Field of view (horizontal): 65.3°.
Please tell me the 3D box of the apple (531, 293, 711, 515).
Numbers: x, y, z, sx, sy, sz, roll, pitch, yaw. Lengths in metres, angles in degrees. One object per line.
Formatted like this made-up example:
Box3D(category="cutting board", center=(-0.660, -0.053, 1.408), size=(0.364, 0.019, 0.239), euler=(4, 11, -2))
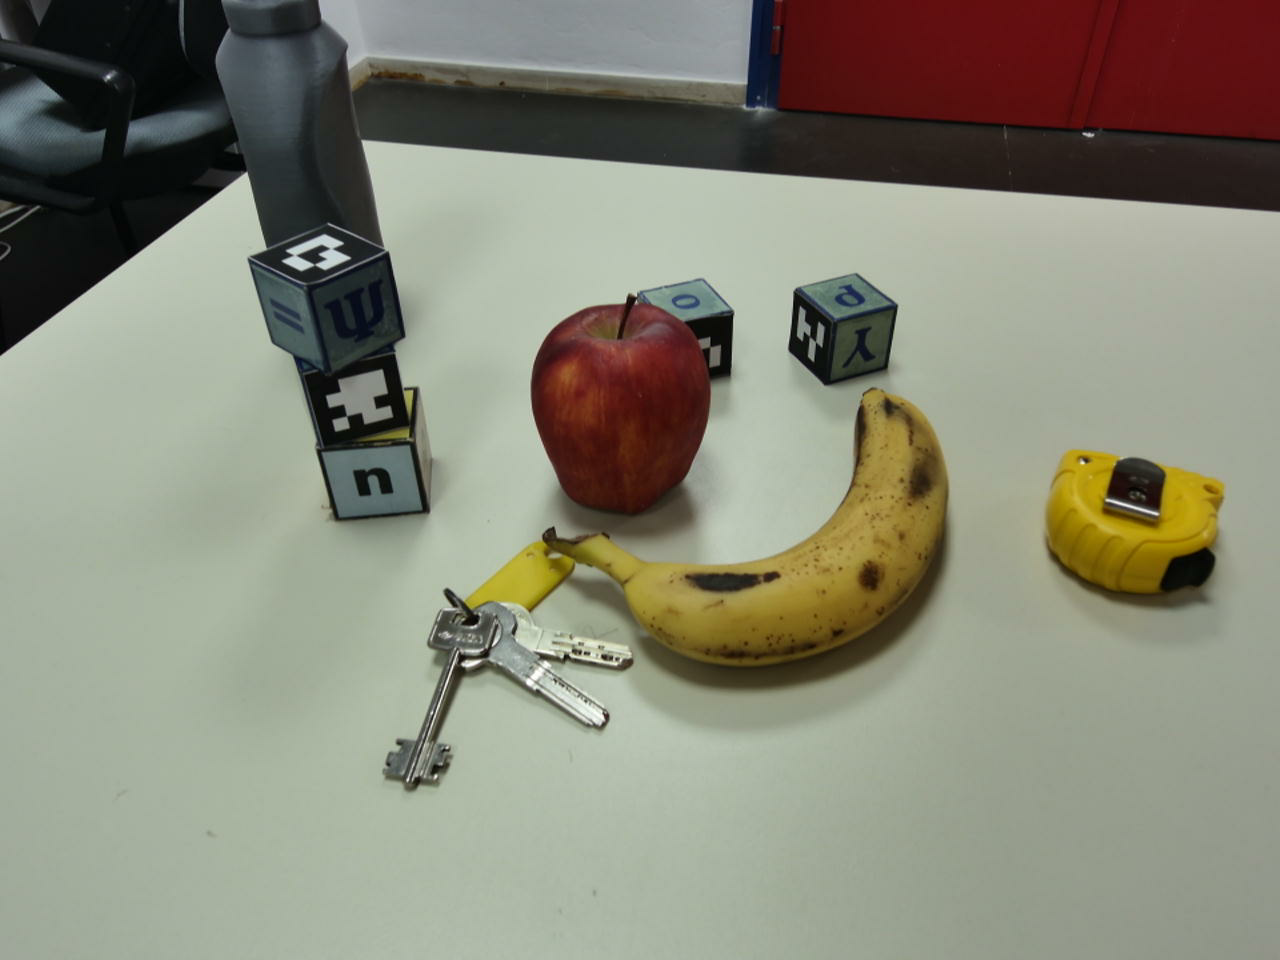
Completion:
Box3D(category="apple", center=(-0.009, -0.037, 0.421), size=(0.083, 0.090, 0.083), euler=(0, 38, 0))
